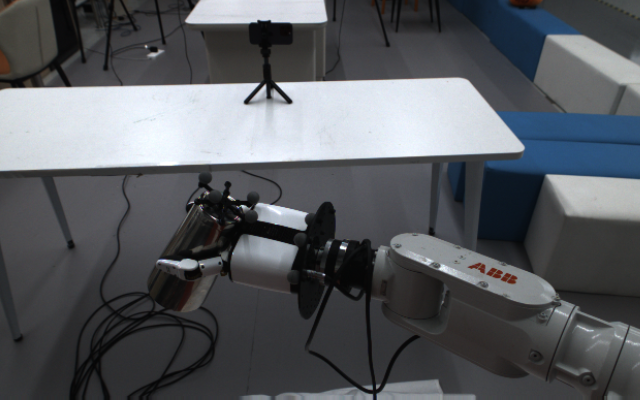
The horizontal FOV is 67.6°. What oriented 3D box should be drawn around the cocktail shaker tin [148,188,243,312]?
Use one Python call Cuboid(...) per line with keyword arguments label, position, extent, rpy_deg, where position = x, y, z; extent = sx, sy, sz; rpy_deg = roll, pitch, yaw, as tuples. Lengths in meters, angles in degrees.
Cuboid(label="cocktail shaker tin", position=(-0.171, 0.066, 0.684), extent=(0.093, 0.170, 0.093), rpy_deg=(26, 32, -18))
